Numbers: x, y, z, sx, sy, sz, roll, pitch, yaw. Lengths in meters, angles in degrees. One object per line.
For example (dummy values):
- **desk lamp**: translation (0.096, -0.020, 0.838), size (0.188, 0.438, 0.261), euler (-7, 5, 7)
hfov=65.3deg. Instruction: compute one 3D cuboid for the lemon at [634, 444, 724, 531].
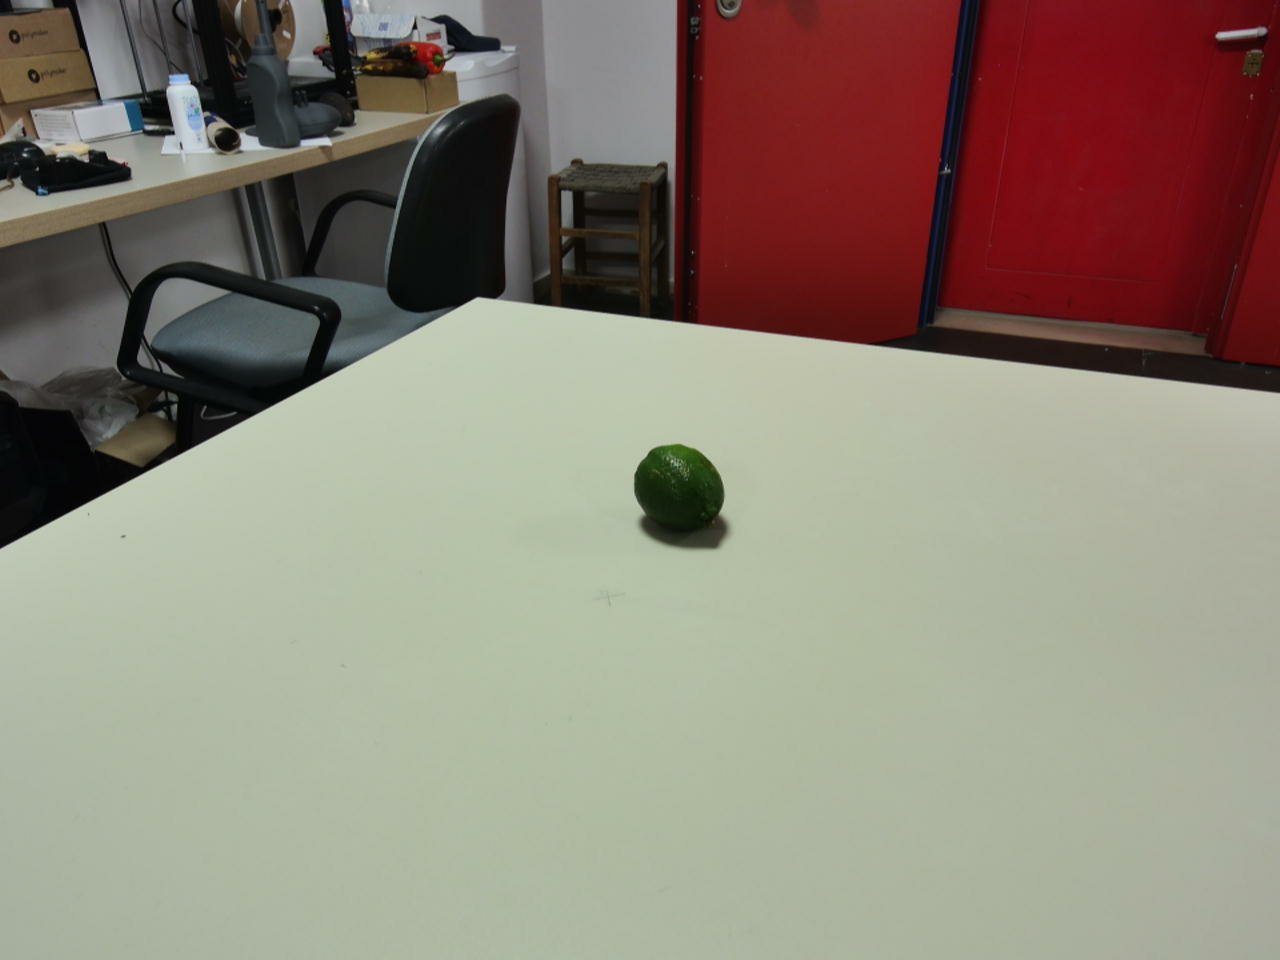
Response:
- **lemon**: translation (0.024, 0.004, 0.616), size (0.057, 0.051, 0.054), euler (8, 27, 18)
